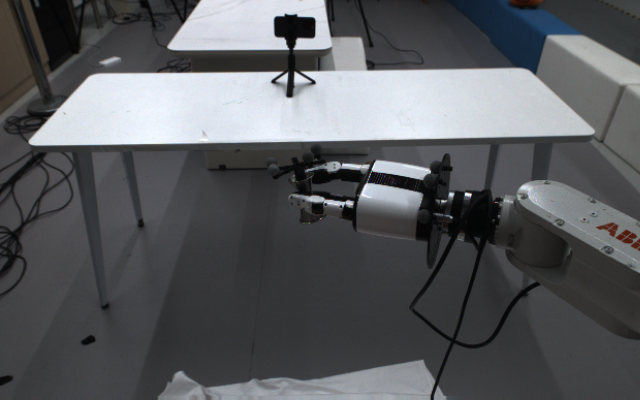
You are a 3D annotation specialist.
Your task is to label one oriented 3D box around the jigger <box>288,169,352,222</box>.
[{"bbox_3d":[-0.018,-0.005,0.723,0.043,0.071,0.043,-14,22,6],"label":"jigger"}]
